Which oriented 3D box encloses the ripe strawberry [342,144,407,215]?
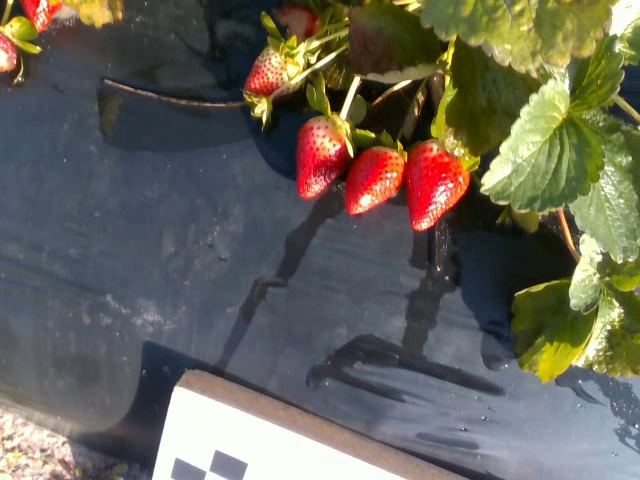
[{"bbox_3d":[0.024,-0.028,0.288,0.030,0.039,0.037,30,-33,1],"label":"ripe strawberry"}]

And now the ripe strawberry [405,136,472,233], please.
[{"bbox_3d":[0.052,-0.020,0.288,0.035,0.041,0.034,18,-20,9],"label":"ripe strawberry"}]

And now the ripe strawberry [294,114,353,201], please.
[{"bbox_3d":[-0.001,-0.041,0.297,0.031,0.045,0.023,21,16,7],"label":"ripe strawberry"}]
